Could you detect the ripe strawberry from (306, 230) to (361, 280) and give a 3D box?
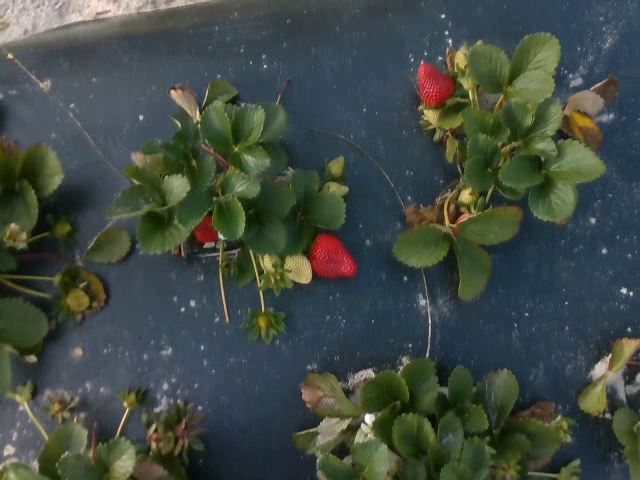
[{"bbox_3d":[0.017,0.025,0.649,0.055,0.051,0.048,37,35,31],"label":"ripe strawberry"}]
